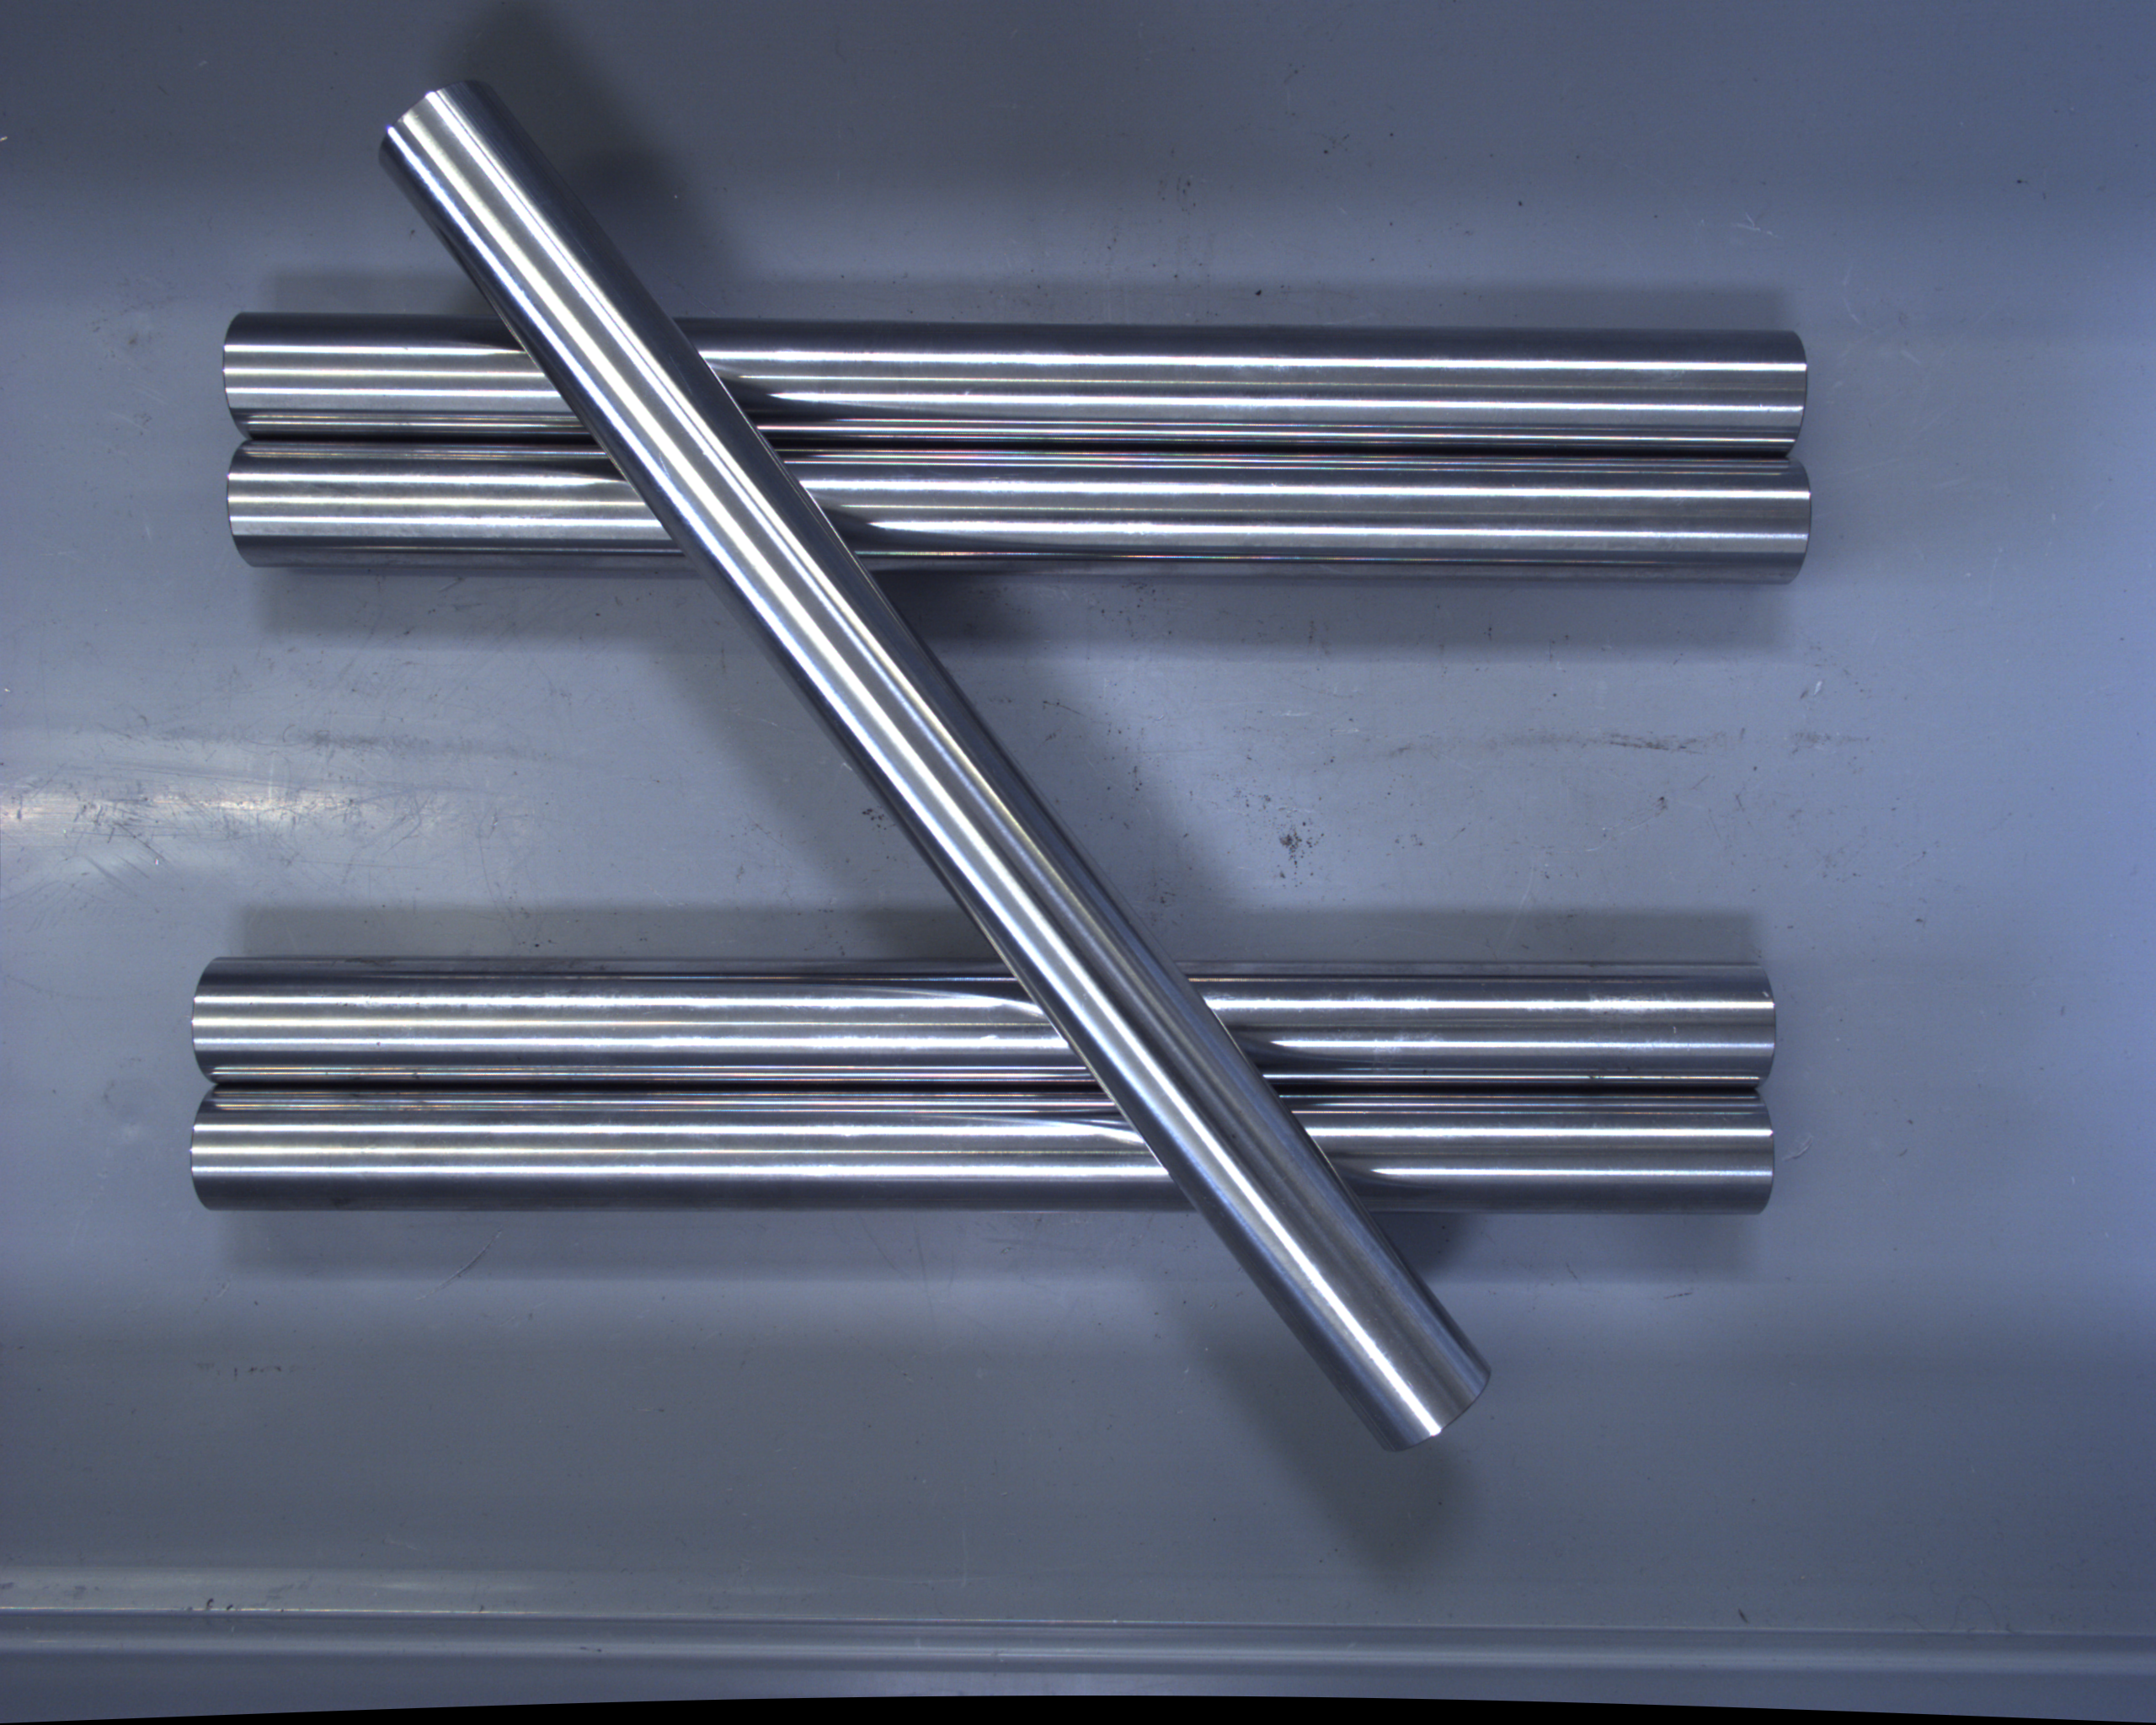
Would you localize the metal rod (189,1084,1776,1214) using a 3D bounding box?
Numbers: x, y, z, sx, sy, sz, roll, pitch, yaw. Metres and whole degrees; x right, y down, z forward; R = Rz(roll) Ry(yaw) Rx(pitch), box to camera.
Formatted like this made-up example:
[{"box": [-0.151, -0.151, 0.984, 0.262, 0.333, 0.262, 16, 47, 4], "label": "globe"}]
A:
[{"box": [-0.018, 0.056, 0.409, 0.302, 0.025, 0.025, 0, 90, 0], "label": "metal rod"}]

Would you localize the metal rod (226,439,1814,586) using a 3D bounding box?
[{"box": [-0.011, -0.069, 0.409, 0.302, 0.025, 0.025, 1, 90, 0], "label": "metal rod"}]

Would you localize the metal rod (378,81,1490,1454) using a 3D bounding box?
[{"box": [-0.026, -0.017, 0.385, 0.025, 0.025, 0.300, -38, 90, 0], "label": "metal rod"}]

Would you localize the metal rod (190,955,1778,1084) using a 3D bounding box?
[{"box": [-0.017, 0.031, 0.409, 0.302, 0.025, 0.025, 0, 90, 0], "label": "metal rod"}]

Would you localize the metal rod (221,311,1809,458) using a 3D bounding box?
[{"box": [-0.012, -0.093, 0.409, 0.302, 0.025, 0.025, 1, 90, 0], "label": "metal rod"}]
